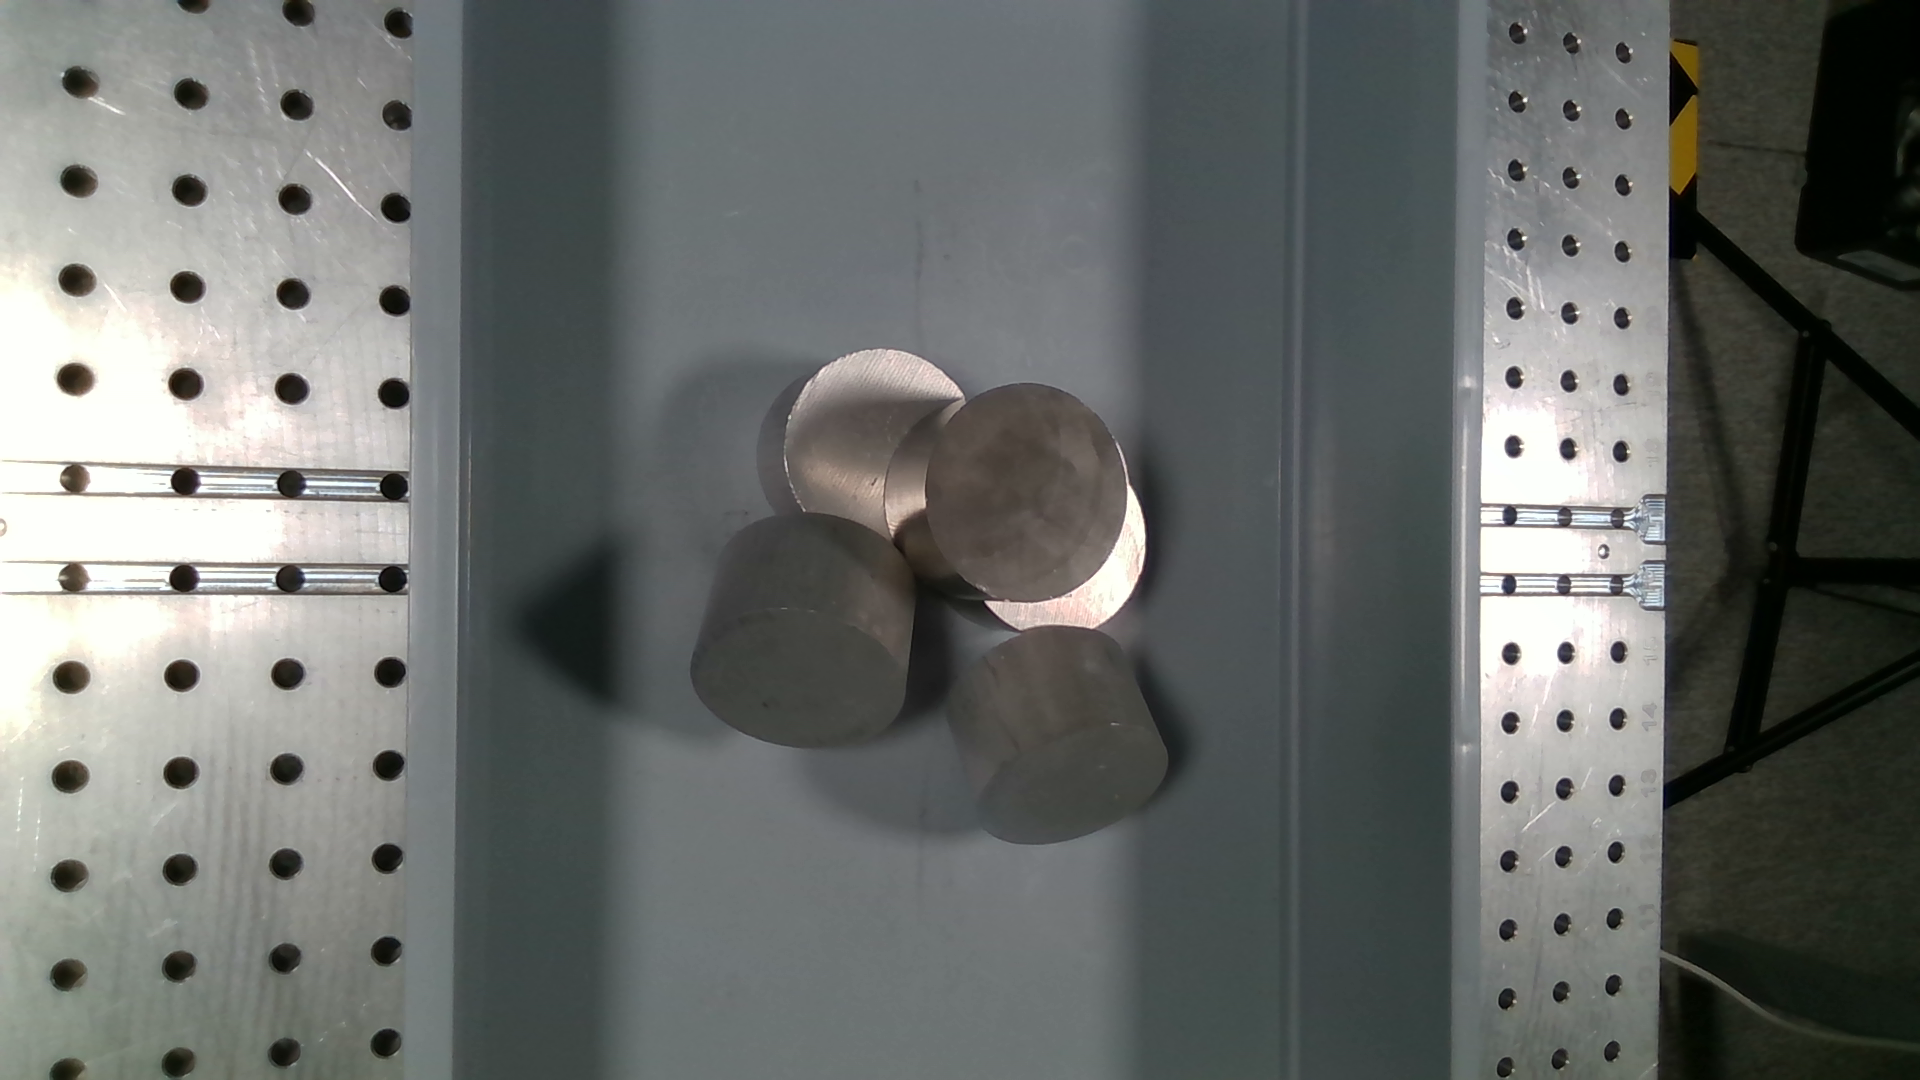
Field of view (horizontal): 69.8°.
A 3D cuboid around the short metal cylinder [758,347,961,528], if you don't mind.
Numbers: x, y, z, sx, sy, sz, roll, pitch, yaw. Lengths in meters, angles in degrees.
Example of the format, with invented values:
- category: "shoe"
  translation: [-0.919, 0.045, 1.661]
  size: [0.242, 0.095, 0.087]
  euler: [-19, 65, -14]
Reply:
- category: "short metal cylinder"
  translation: [-0.038, -0.035, 0.558]
  size: [0.080, 0.050, 0.080]
  euler: [0, 90, -20]

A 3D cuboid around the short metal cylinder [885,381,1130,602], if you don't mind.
- category: "short metal cylinder"
  translation: [0.017, -0.018, 0.523]
  size: [0.080, 0.050, 0.080]
  euler: [0, 90, -20]

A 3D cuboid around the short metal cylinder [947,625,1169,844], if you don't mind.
- category: "short metal cylinder"
  translation: [0.039, 0.080, 0.564]
  size: [0.080, 0.050, 0.080]
  euler: [-12, 137, -11]

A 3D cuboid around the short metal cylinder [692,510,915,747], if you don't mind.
- category: "short metal cylinder"
  translation: [-0.058, 0.035, 0.527]
  size: [0.080, 0.080, 0.050]
  euler: [25, 41, -19]

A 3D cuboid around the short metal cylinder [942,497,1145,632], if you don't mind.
- category: "short metal cylinder"
  translation: [0.031, -0.001, 0.582]
  size: [0.080, 0.050, 0.080]
  euler: [0, 90, -20]
